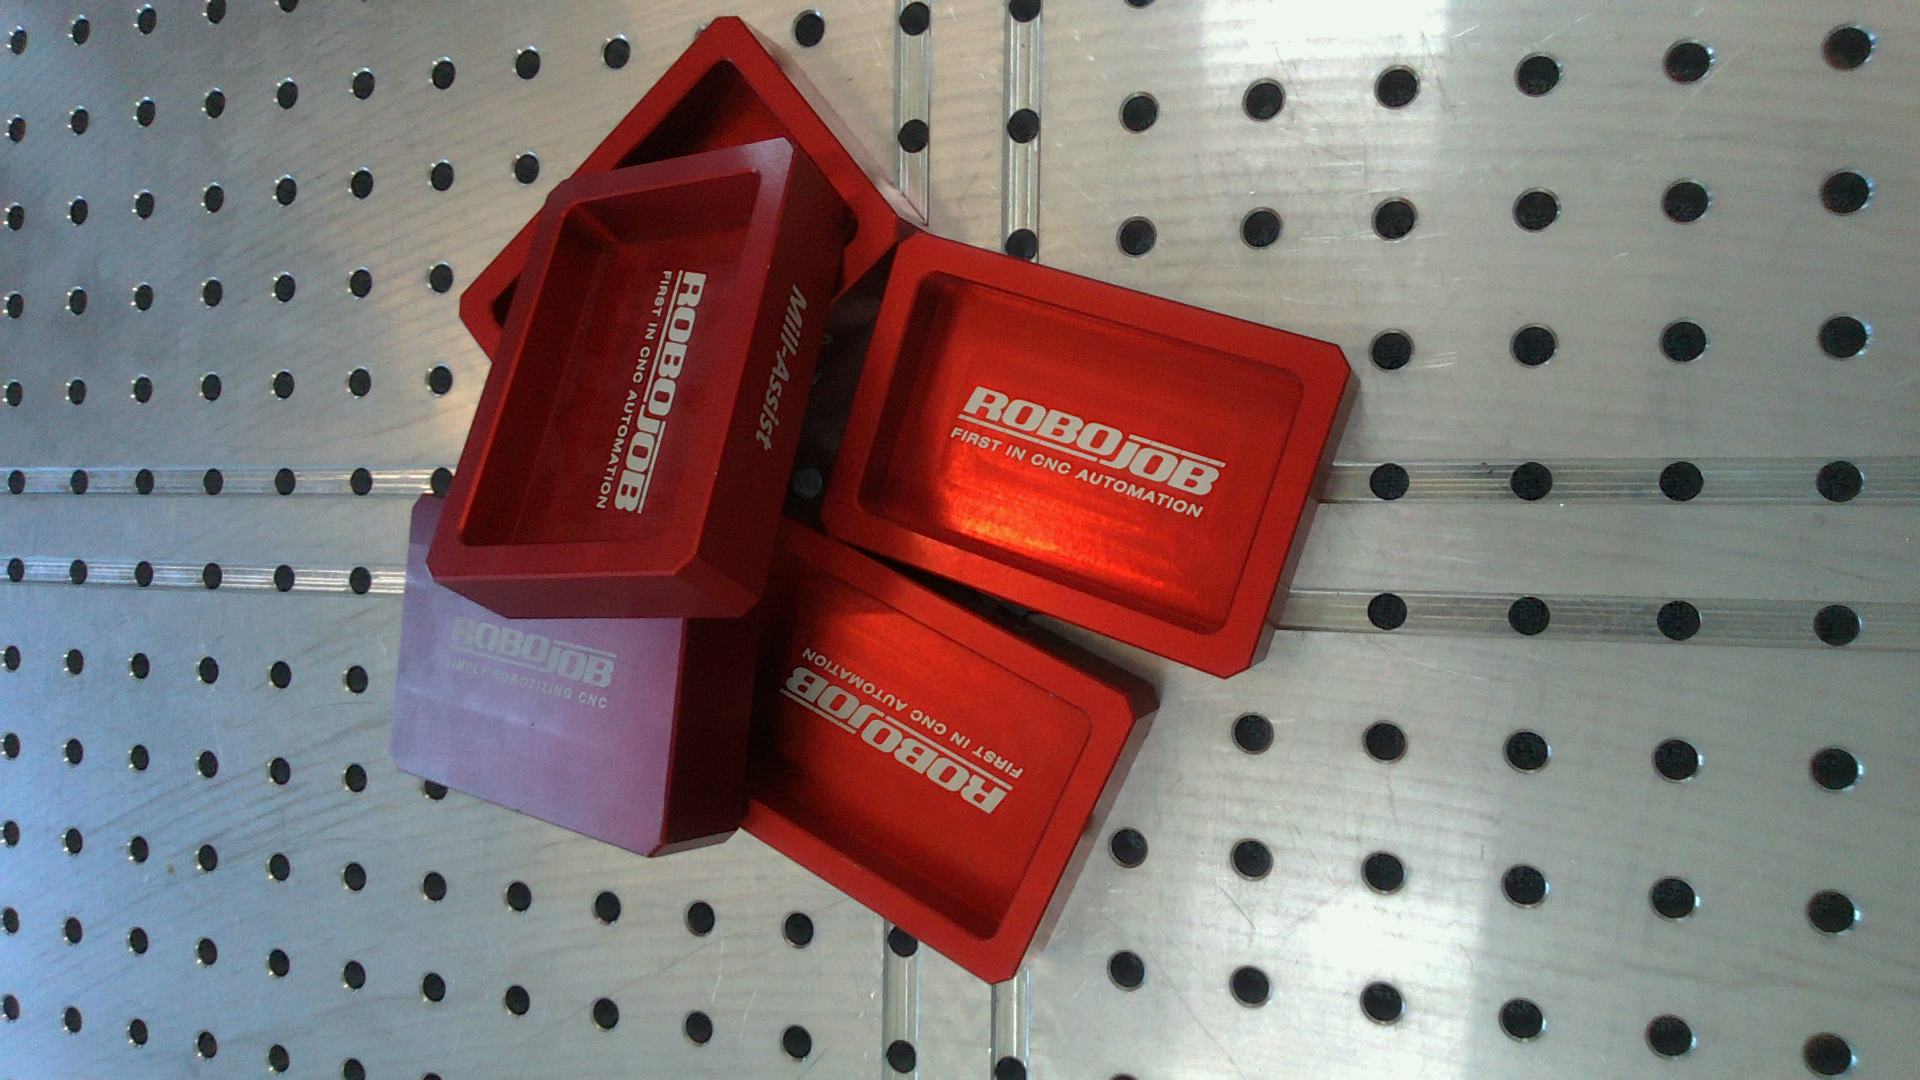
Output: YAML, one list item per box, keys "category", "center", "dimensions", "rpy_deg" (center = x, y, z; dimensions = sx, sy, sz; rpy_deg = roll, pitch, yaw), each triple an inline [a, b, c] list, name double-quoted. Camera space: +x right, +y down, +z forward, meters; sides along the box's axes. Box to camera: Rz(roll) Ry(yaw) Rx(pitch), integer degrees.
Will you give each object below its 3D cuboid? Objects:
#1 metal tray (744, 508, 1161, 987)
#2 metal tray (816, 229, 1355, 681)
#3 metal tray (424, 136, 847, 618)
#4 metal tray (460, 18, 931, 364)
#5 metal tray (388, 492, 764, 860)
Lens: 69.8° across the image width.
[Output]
- category: "metal tray"
  center: [-0.019, 0.056, 0.402]
  dimensions: [0.130, 0.030, 0.090]
  rpy_deg: [27, 99, 18]
- category: "metal tray"
  center: [0.033, -0.025, 0.382]
  dimensions: [0.130, 0.030, 0.090]
  rpy_deg: [19, 97, 19]
- category: "metal tray"
  center: [-0.088, -0.044, 0.382]
  dimensions: [0.090, 0.030, 0.130]
  rpy_deg: [-2, 65, 27]
- category: "metal tray"
  center: [-0.083, -0.081, 0.425]
  dimensions: [0.130, 0.030, 0.090]
  rpy_deg: [-41, 76, 15]
- category: "metal tray"
  center: [-0.121, 0.037, 0.421]
  dimensions: [0.129, 0.030, 0.090]
  rpy_deg: [8, 94, 34]
